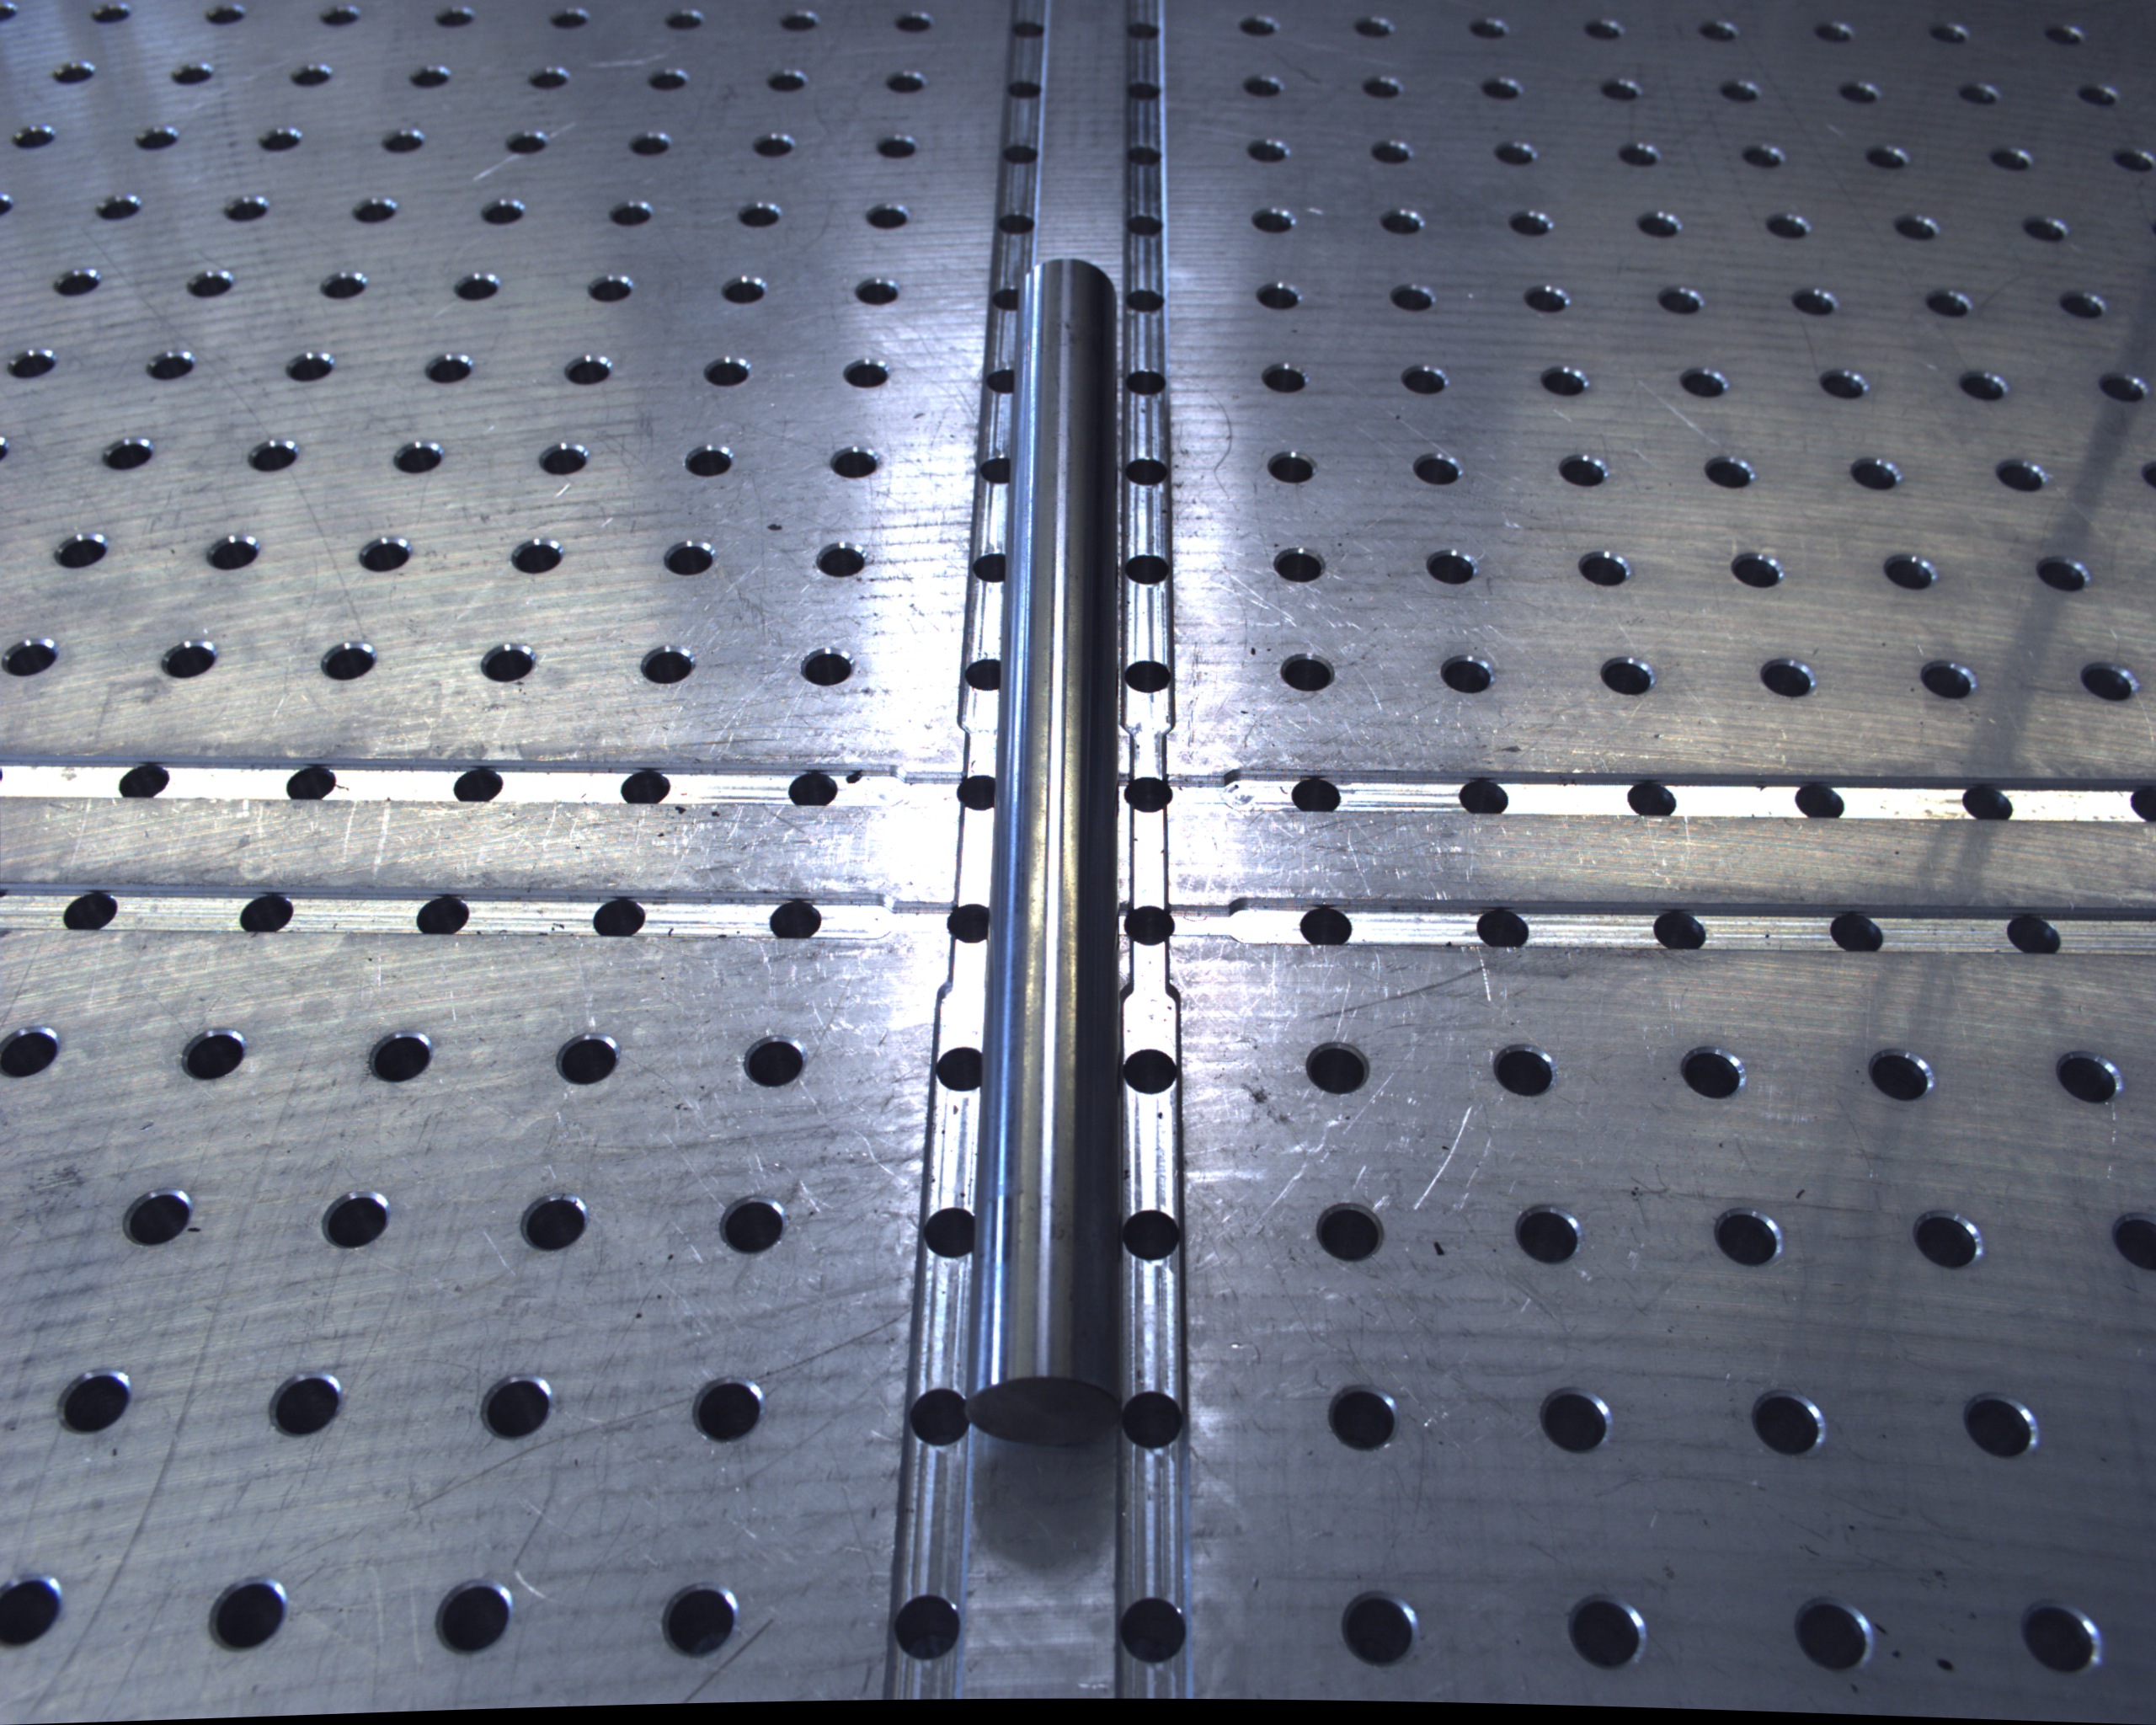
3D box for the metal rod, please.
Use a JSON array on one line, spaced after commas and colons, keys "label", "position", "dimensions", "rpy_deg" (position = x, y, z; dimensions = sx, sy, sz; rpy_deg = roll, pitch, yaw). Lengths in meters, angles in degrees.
[{"label": "metal rod", "position": [-0.004, -0.026, 0.430], "dimensions": [0.025, 0.025, 0.300], "rpy_deg": [1, 50, 0]}]
